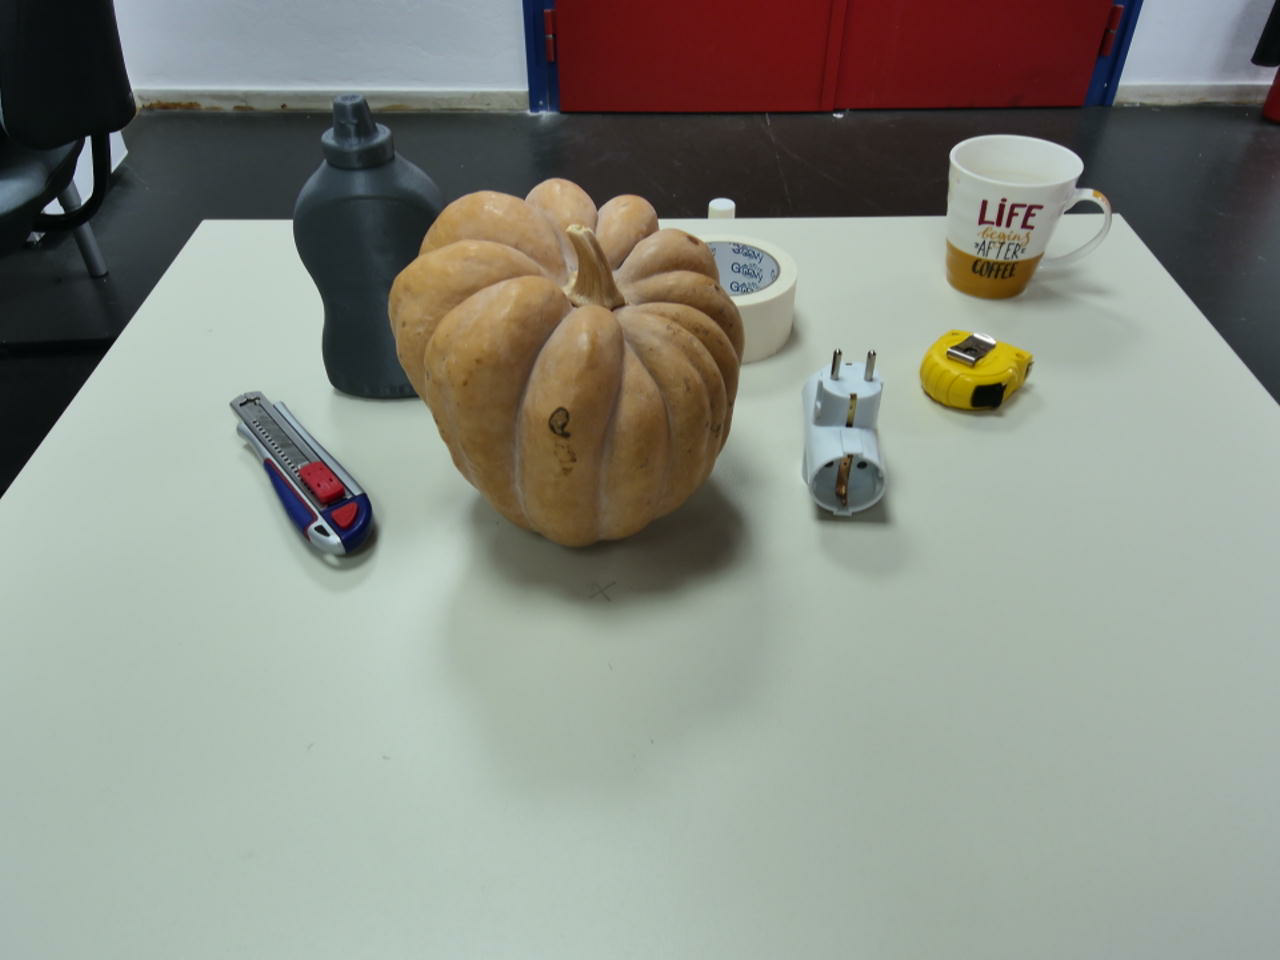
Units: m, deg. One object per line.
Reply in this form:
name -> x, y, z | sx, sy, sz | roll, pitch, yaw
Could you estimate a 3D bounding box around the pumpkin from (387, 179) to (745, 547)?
pumpkin -> -0.037, -0.063, 0.552 | 0.199, 0.177, 0.198 | 0, 39, 0
